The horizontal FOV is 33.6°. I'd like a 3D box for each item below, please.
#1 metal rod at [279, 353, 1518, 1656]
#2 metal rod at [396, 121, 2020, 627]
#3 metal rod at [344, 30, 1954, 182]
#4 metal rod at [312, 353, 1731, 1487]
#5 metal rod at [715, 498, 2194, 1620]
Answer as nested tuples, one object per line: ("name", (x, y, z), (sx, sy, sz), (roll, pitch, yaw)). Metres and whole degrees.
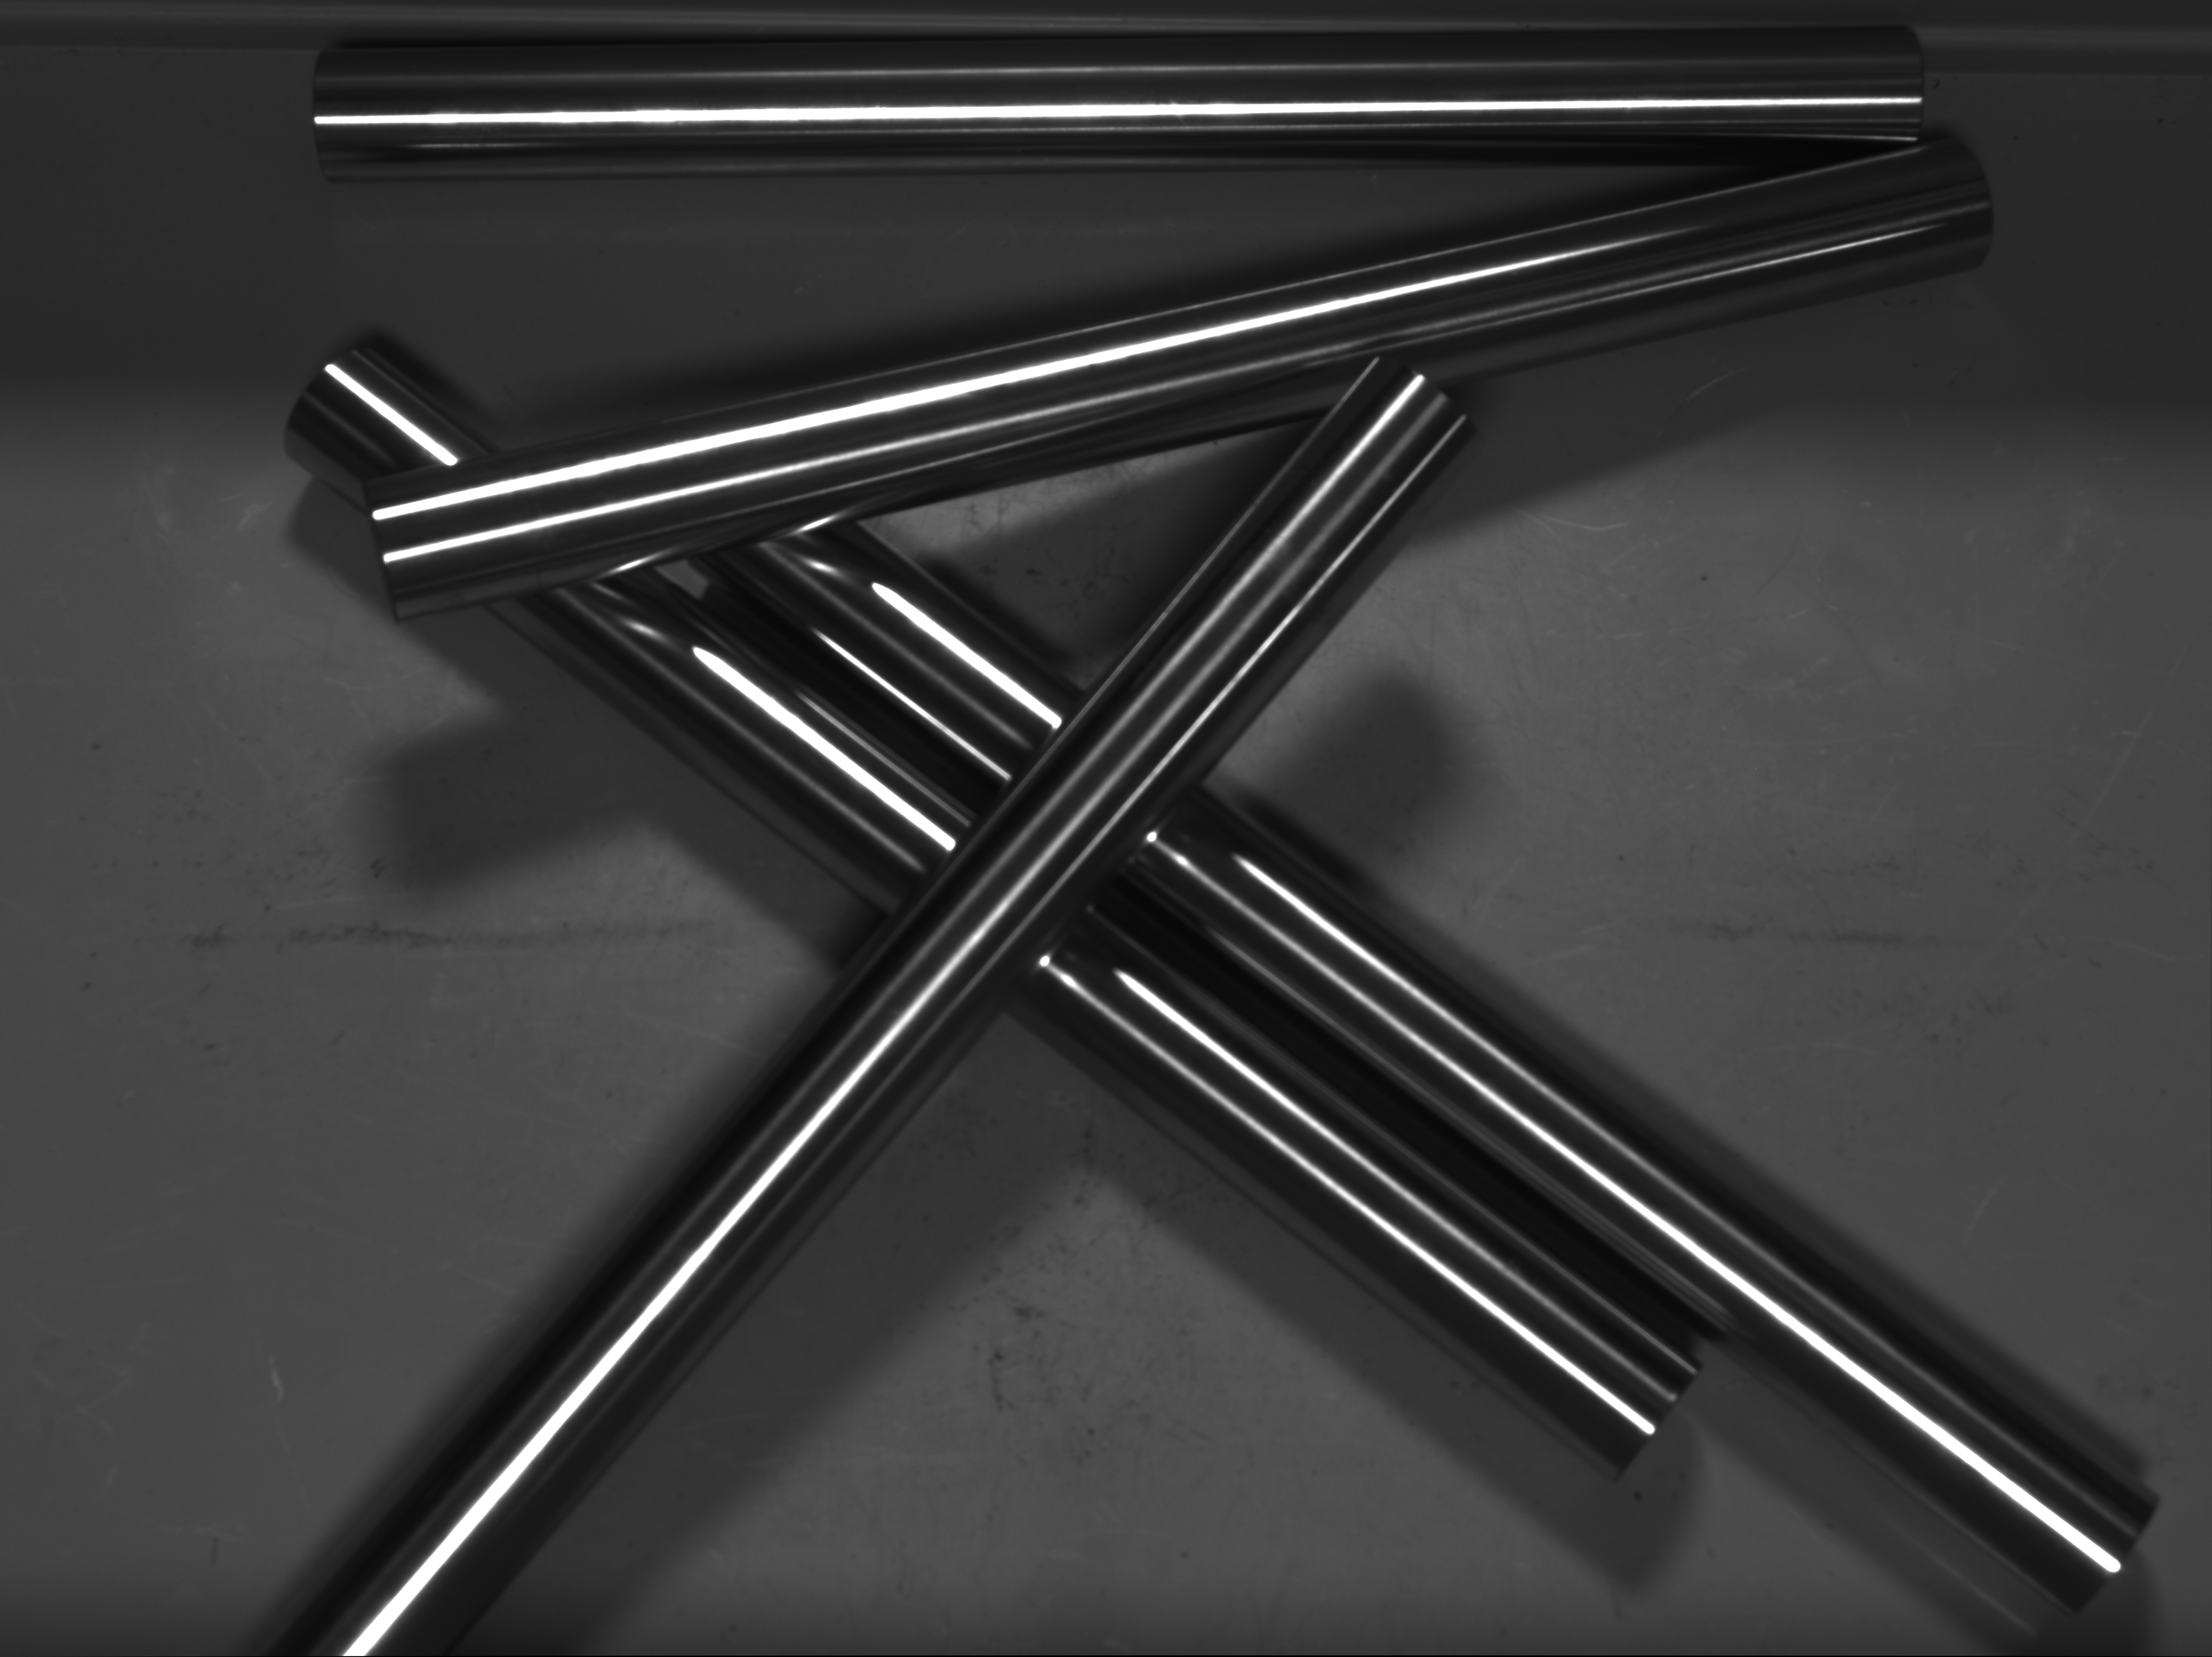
("metal rod", (-0.036, 0.040, 0.608), (0.025, 0.025, 0.300), (39, 82, 13))
("metal rod", (0.024, -0.084, 0.659), (0.300, 0.025, 0.025), (-15, 70, -12))
("metal rod", (0.008, -0.137, 0.695), (0.300, 0.025, 0.025), (-1, 70, 0))
("metal rod", (-0.020, 0.011, 0.640), (0.300, 0.025, 0.025), (37, 74, 12))
("metal rod", (0.054, 0.032, 0.633), (0.300, 0.025, 0.025), (37, 74, 12))
